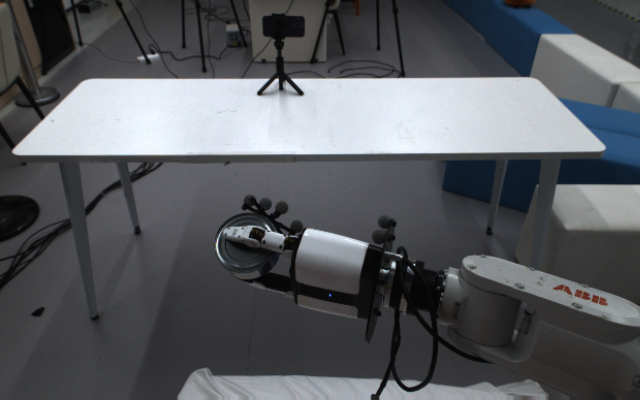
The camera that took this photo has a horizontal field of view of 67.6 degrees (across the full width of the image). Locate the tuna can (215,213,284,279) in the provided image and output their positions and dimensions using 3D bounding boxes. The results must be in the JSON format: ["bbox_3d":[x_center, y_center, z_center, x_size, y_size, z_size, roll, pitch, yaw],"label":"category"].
[{"bbox_3d":[-0.095,0.062,0.650,0.085,0.034,0.085,-2,60,3],"label":"tuna can"}]
